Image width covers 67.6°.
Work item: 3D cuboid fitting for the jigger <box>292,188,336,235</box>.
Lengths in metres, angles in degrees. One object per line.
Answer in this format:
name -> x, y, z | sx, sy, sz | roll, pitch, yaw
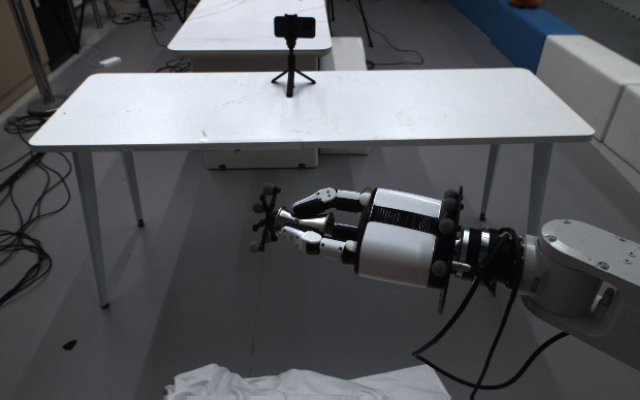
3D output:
jigger -> -0.013, 0.029, 0.630 | 0.071, 0.043, 0.043 | 9, 35, 17
